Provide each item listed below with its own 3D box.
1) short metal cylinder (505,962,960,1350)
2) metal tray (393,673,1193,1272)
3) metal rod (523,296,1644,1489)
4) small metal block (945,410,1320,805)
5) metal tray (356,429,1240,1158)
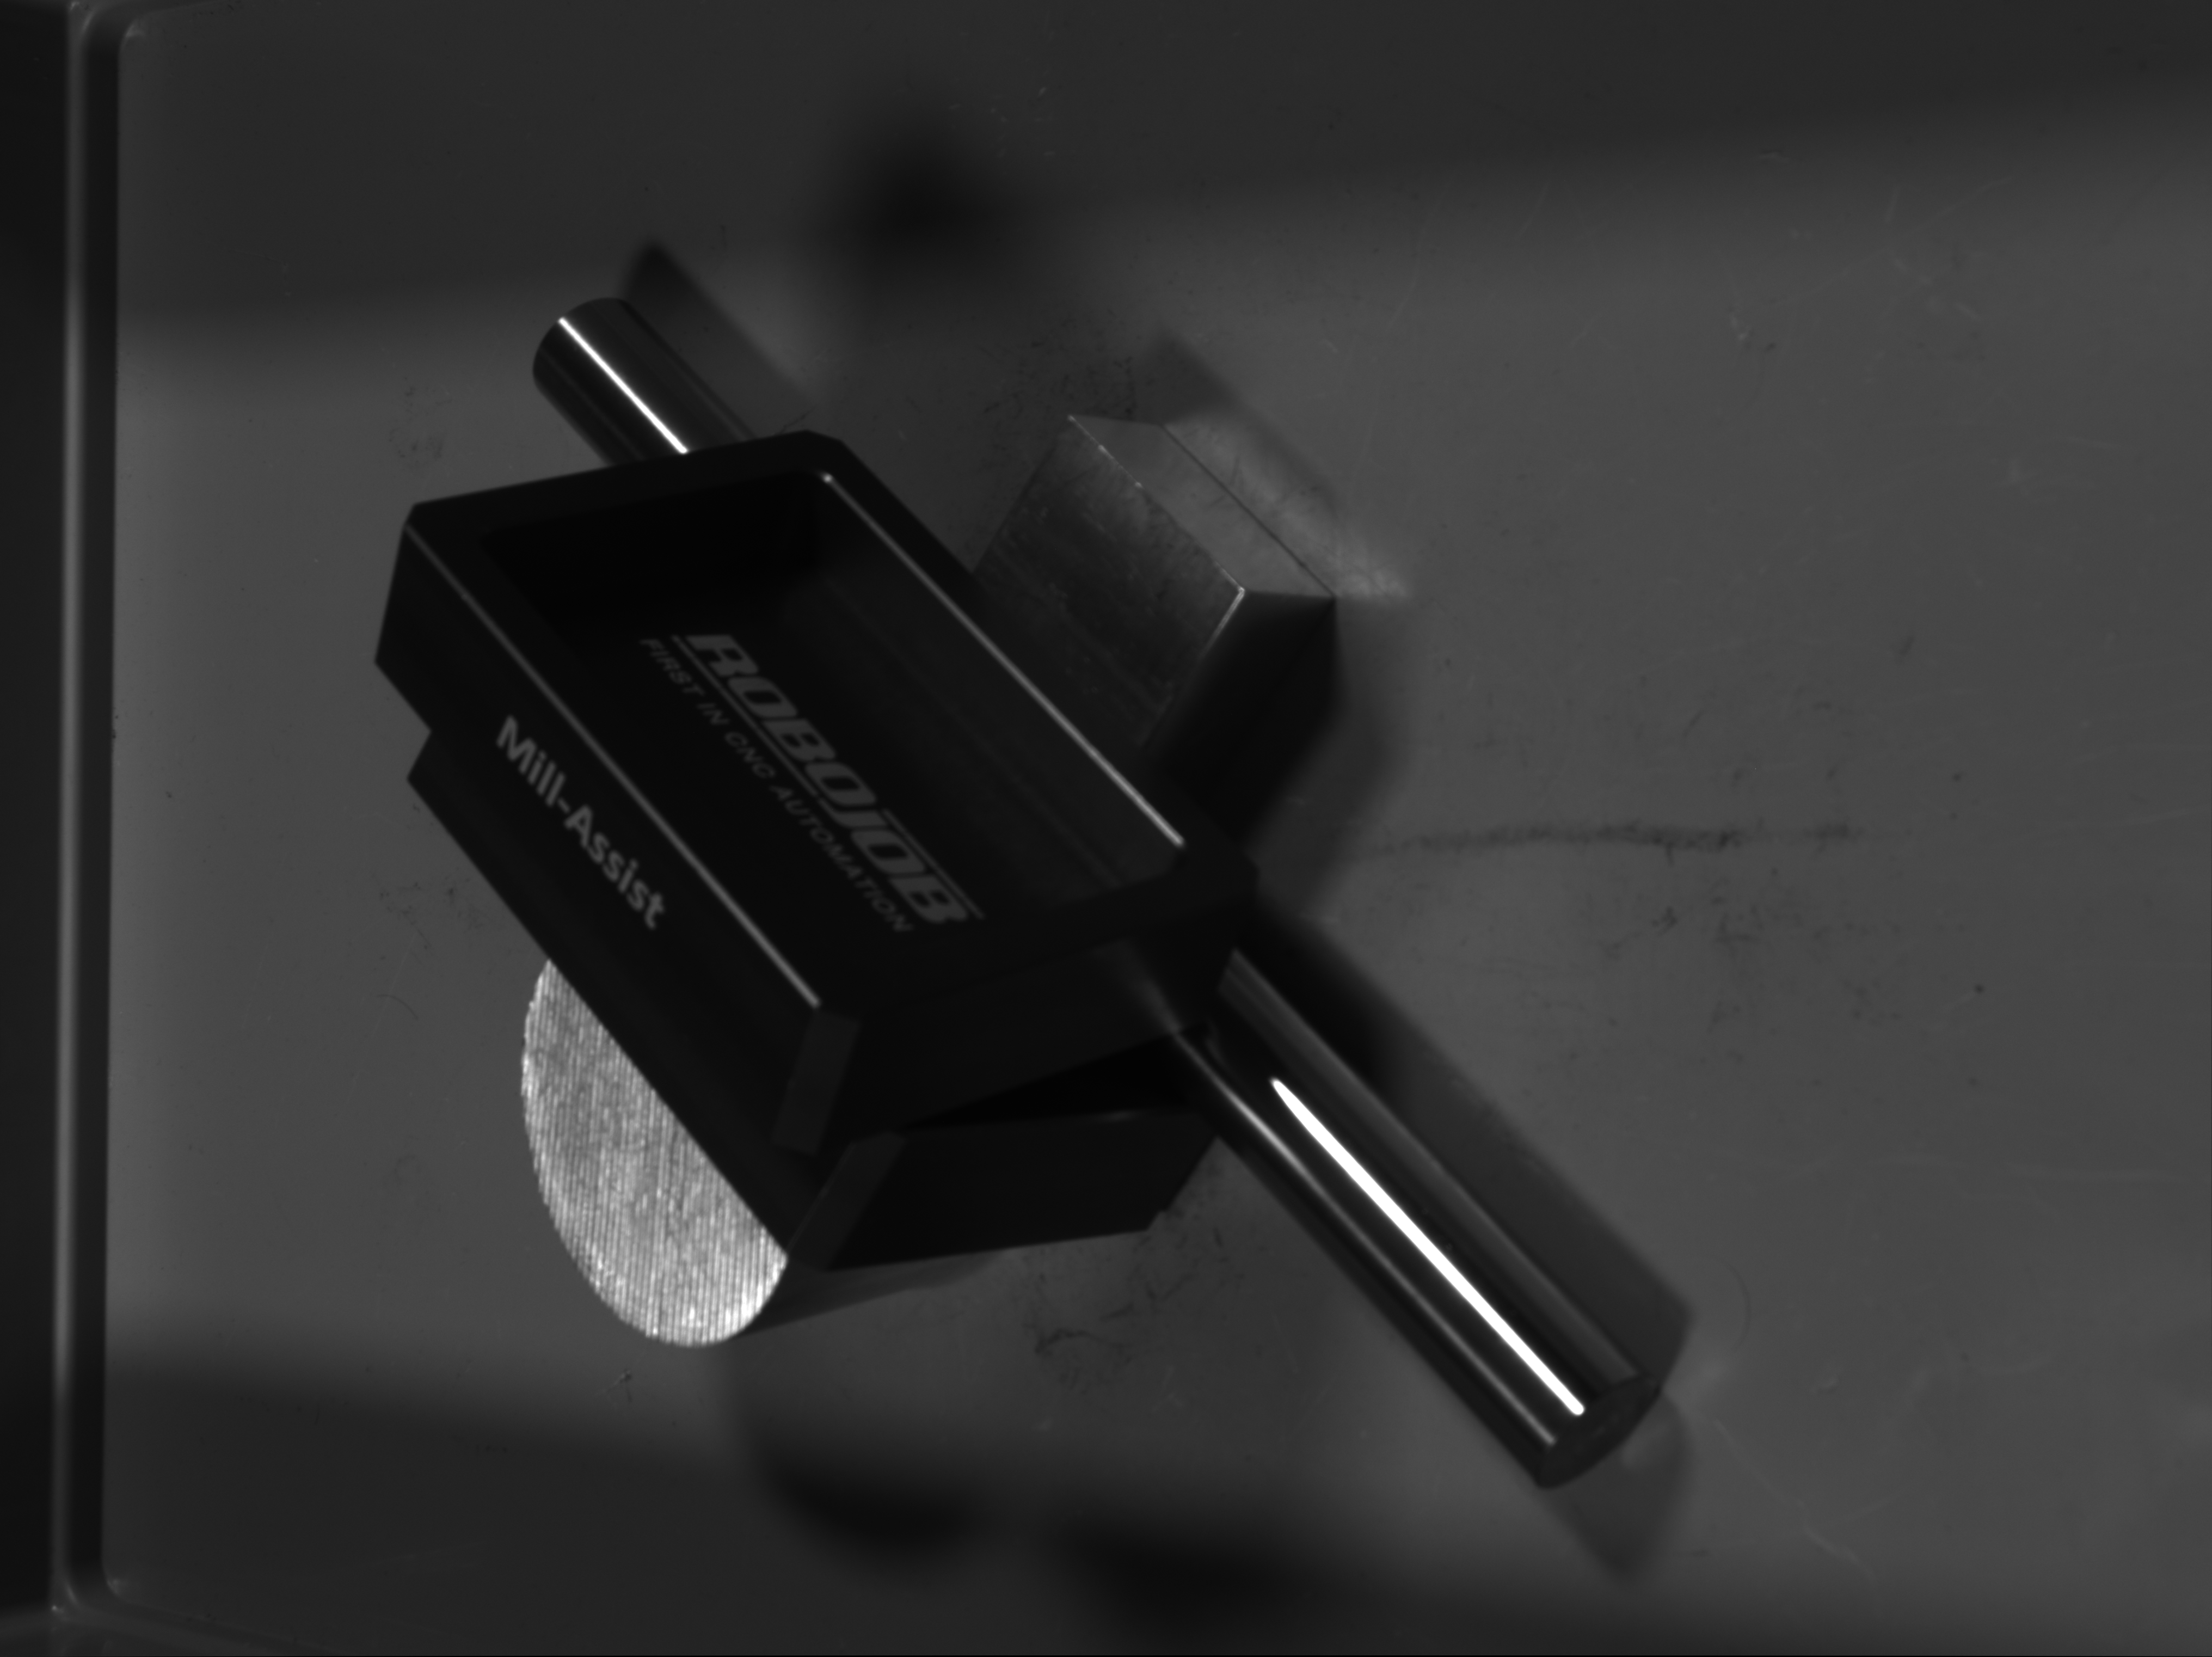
[{"bbox_3d":[-0.065,0.050,0.664,0.080,0.050,0.080,9,103,44],"label":"short metal cylinder"},{"bbox_3d":[-0.053,0.018,0.636,0.130,0.090,0.030,47,117,30],"label":"metal tray"},{"bbox_3d":[-0.015,0.000,0.649,0.299,0.025,0.025,47,117,29],"label":"metal rod"},{"bbox_3d":[0.001,-0.036,0.634,0.050,0.025,0.050,48,118,29],"label":"small metal block"},{"bbox_3d":[-0.052,-0.010,0.603,0.130,0.090,0.030,47,134,30],"label":"metal tray"}]
